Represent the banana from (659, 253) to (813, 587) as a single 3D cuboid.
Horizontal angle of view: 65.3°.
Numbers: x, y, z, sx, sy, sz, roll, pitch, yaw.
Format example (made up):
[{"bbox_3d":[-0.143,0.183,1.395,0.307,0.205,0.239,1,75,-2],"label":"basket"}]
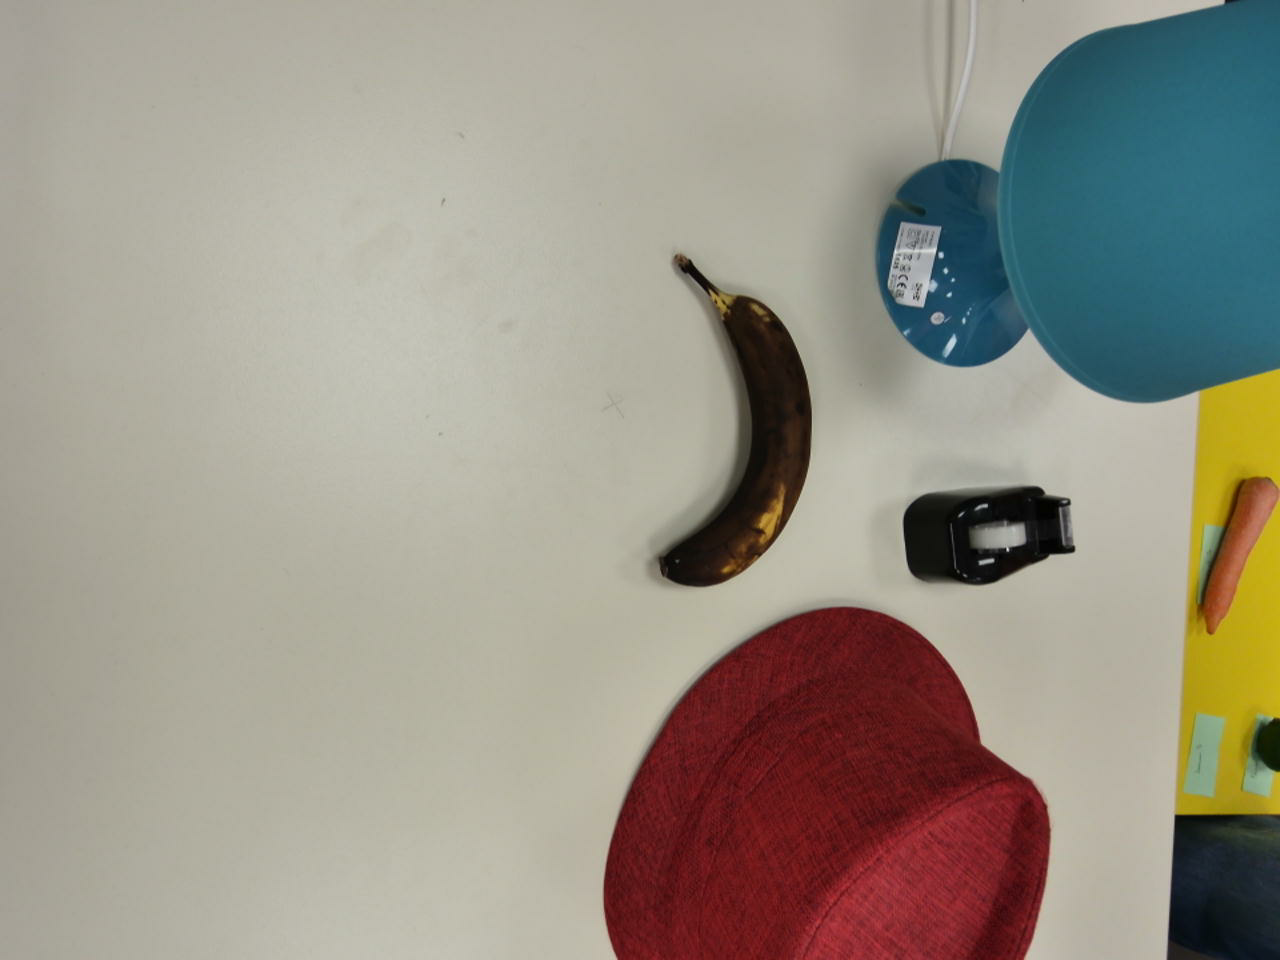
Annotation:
[{"bbox_3d":[0.059,-0.031,0.575,0.091,0.034,0.188,6,88,-22],"label":"banana"}]
